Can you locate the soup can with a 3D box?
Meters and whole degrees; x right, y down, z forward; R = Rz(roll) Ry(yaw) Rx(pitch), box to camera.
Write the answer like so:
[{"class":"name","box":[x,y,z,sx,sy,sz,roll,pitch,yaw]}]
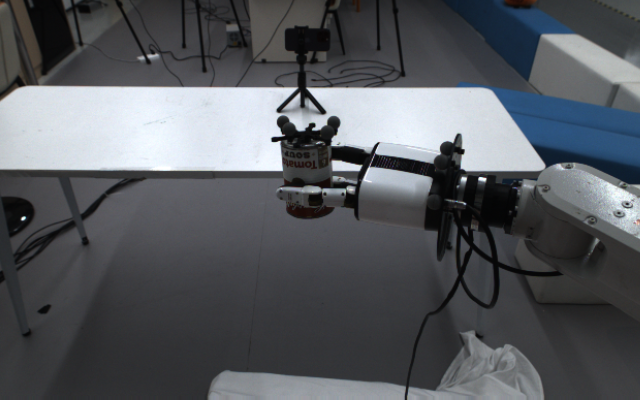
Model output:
[{"class":"soup can","box":[-0.015,-0.035,0.650,0.067,0.101,0.067,-3,26,2]}]
